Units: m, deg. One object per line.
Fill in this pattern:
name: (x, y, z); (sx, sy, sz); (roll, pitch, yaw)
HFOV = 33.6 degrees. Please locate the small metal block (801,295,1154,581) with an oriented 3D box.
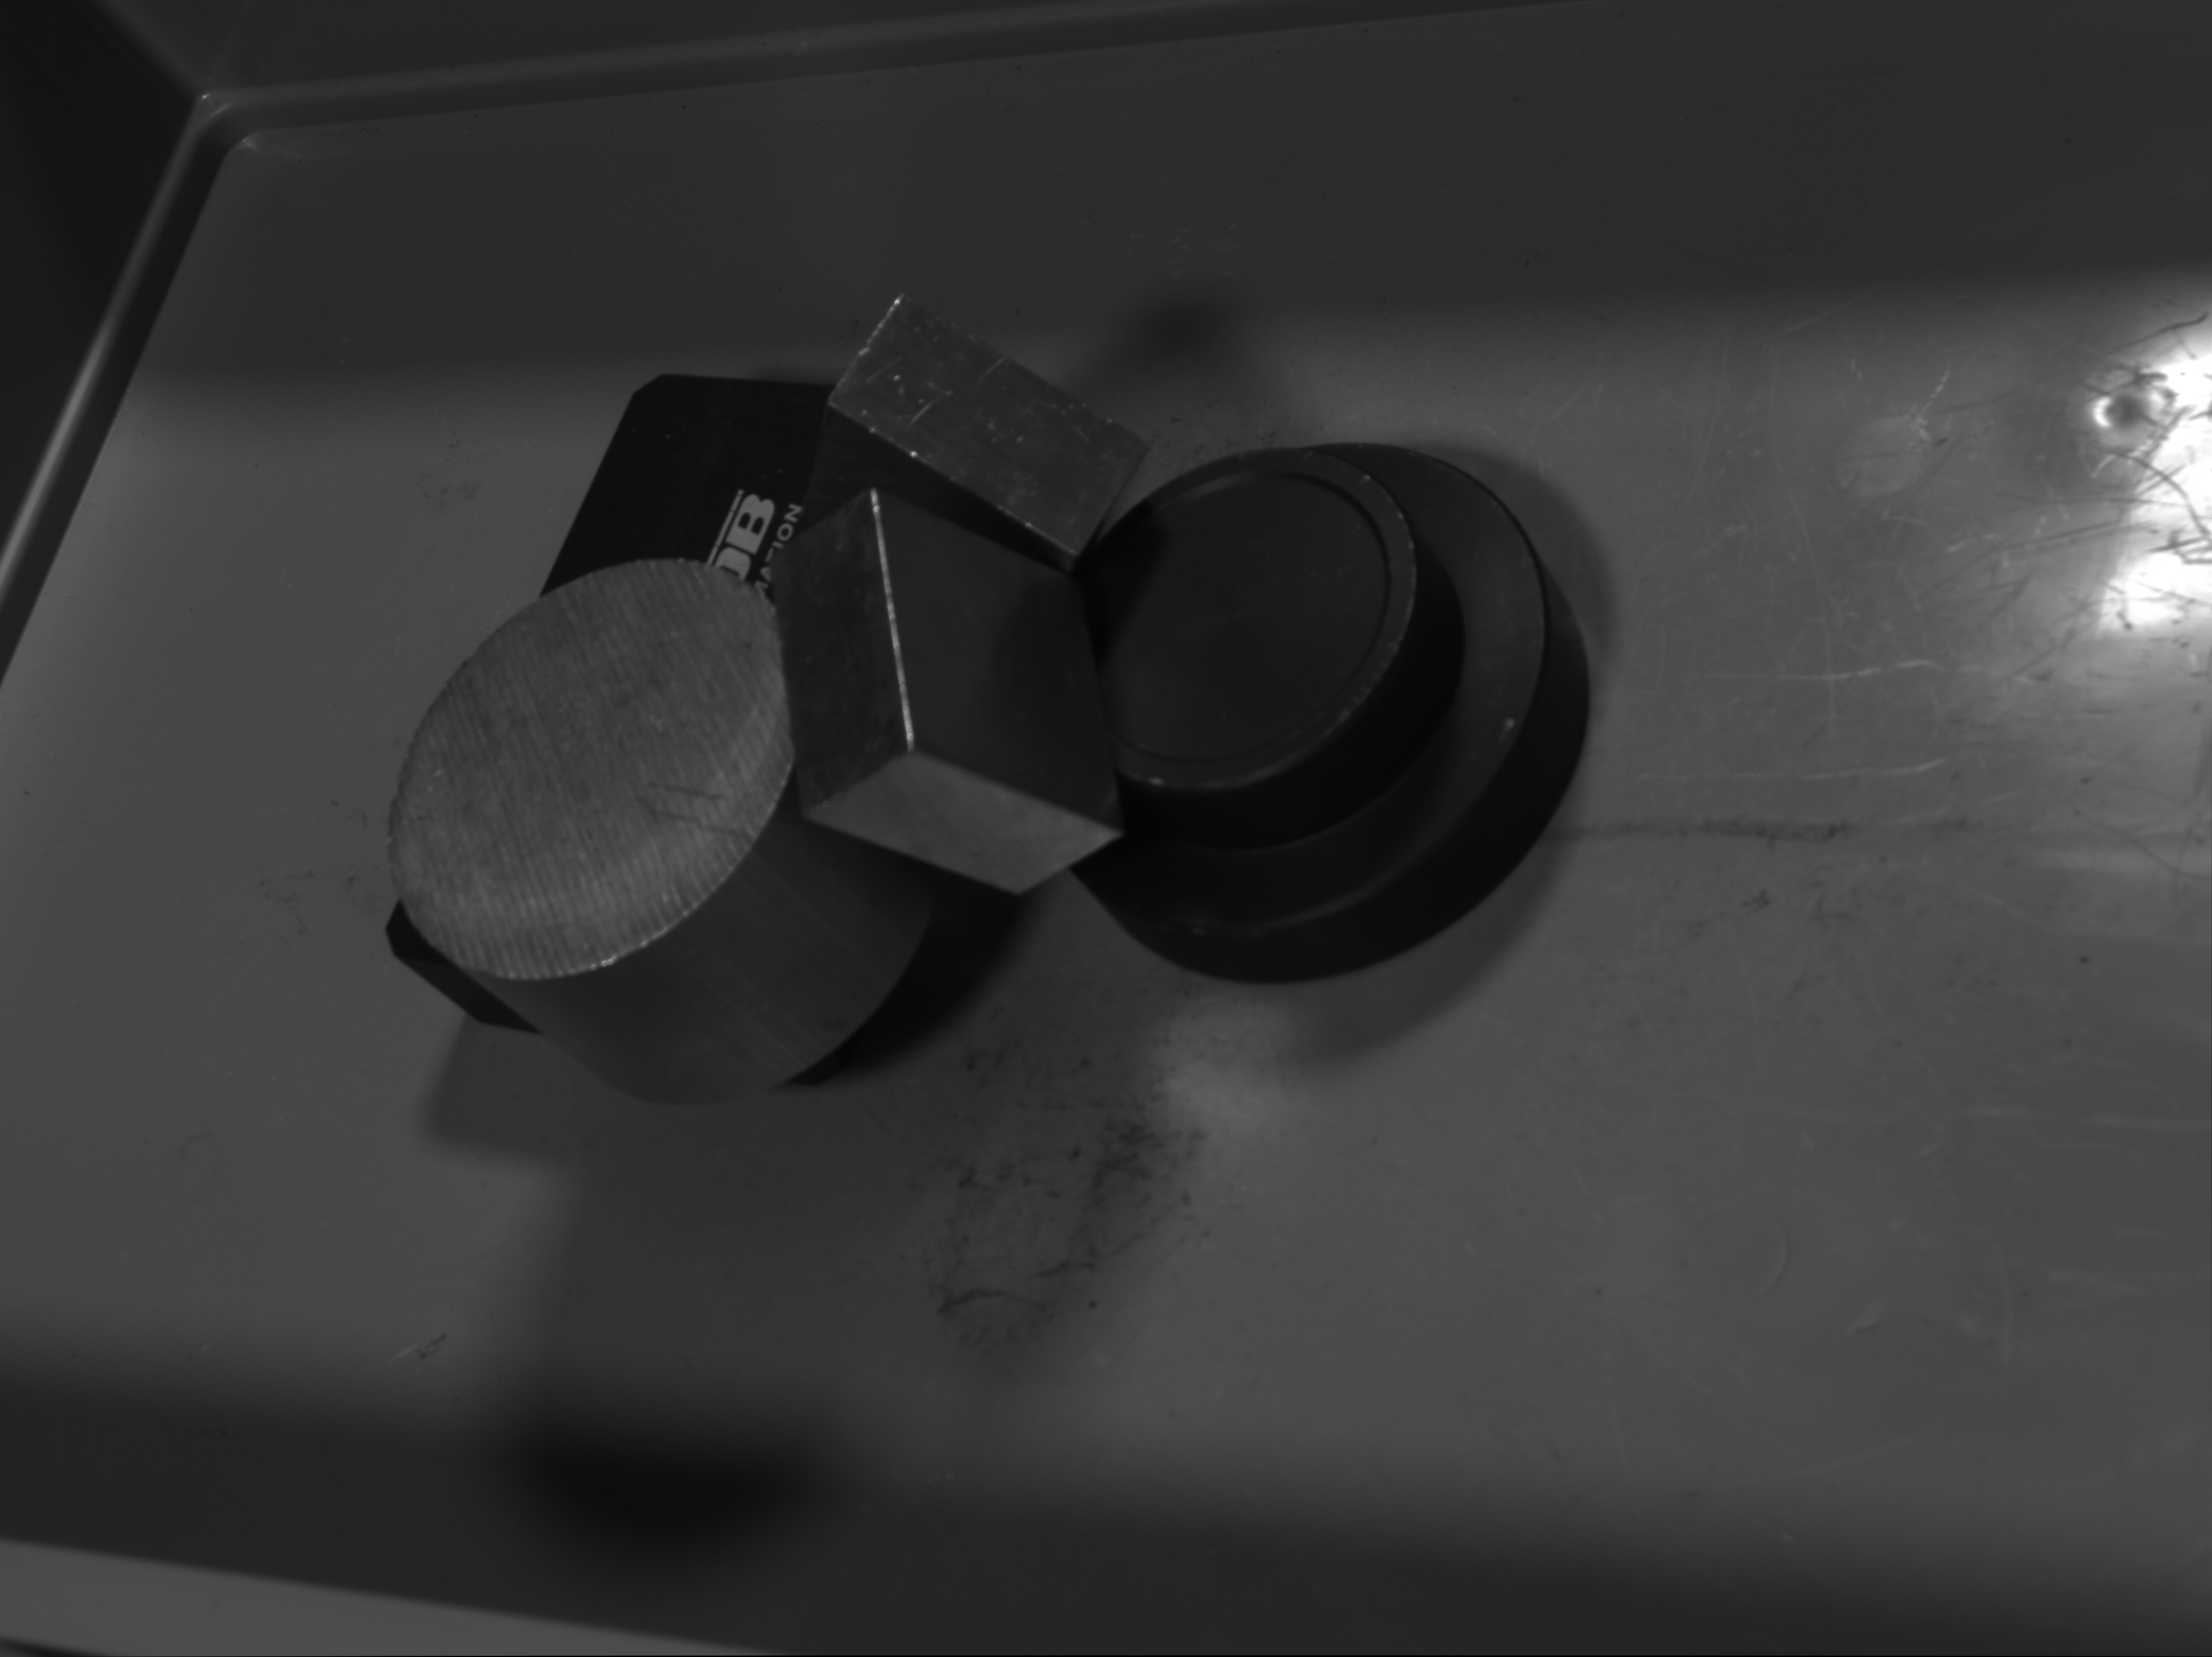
small metal block: (-0.024, -0.061, 0.644); (0.050, 0.050, 0.025); (31, 70, 1)

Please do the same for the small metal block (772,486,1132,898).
small metal block: (-0.026, -0.022, 0.603); (0.025, 0.050, 0.050); (-30, 55, 33)

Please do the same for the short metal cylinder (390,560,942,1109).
short metal cylinder: (-0.075, 0.001, 0.627); (0.080, 0.050, 0.080); (-13, 56, 21)

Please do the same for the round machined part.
round machined part: (0.030, -0.026, 0.631); (0.098, 0.042, 0.098); (-13, 56, 21)

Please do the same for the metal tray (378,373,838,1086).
metal tray: (-0.071, -0.022, 0.689); (0.090, 0.030, 0.130); (8, 65, 32)
